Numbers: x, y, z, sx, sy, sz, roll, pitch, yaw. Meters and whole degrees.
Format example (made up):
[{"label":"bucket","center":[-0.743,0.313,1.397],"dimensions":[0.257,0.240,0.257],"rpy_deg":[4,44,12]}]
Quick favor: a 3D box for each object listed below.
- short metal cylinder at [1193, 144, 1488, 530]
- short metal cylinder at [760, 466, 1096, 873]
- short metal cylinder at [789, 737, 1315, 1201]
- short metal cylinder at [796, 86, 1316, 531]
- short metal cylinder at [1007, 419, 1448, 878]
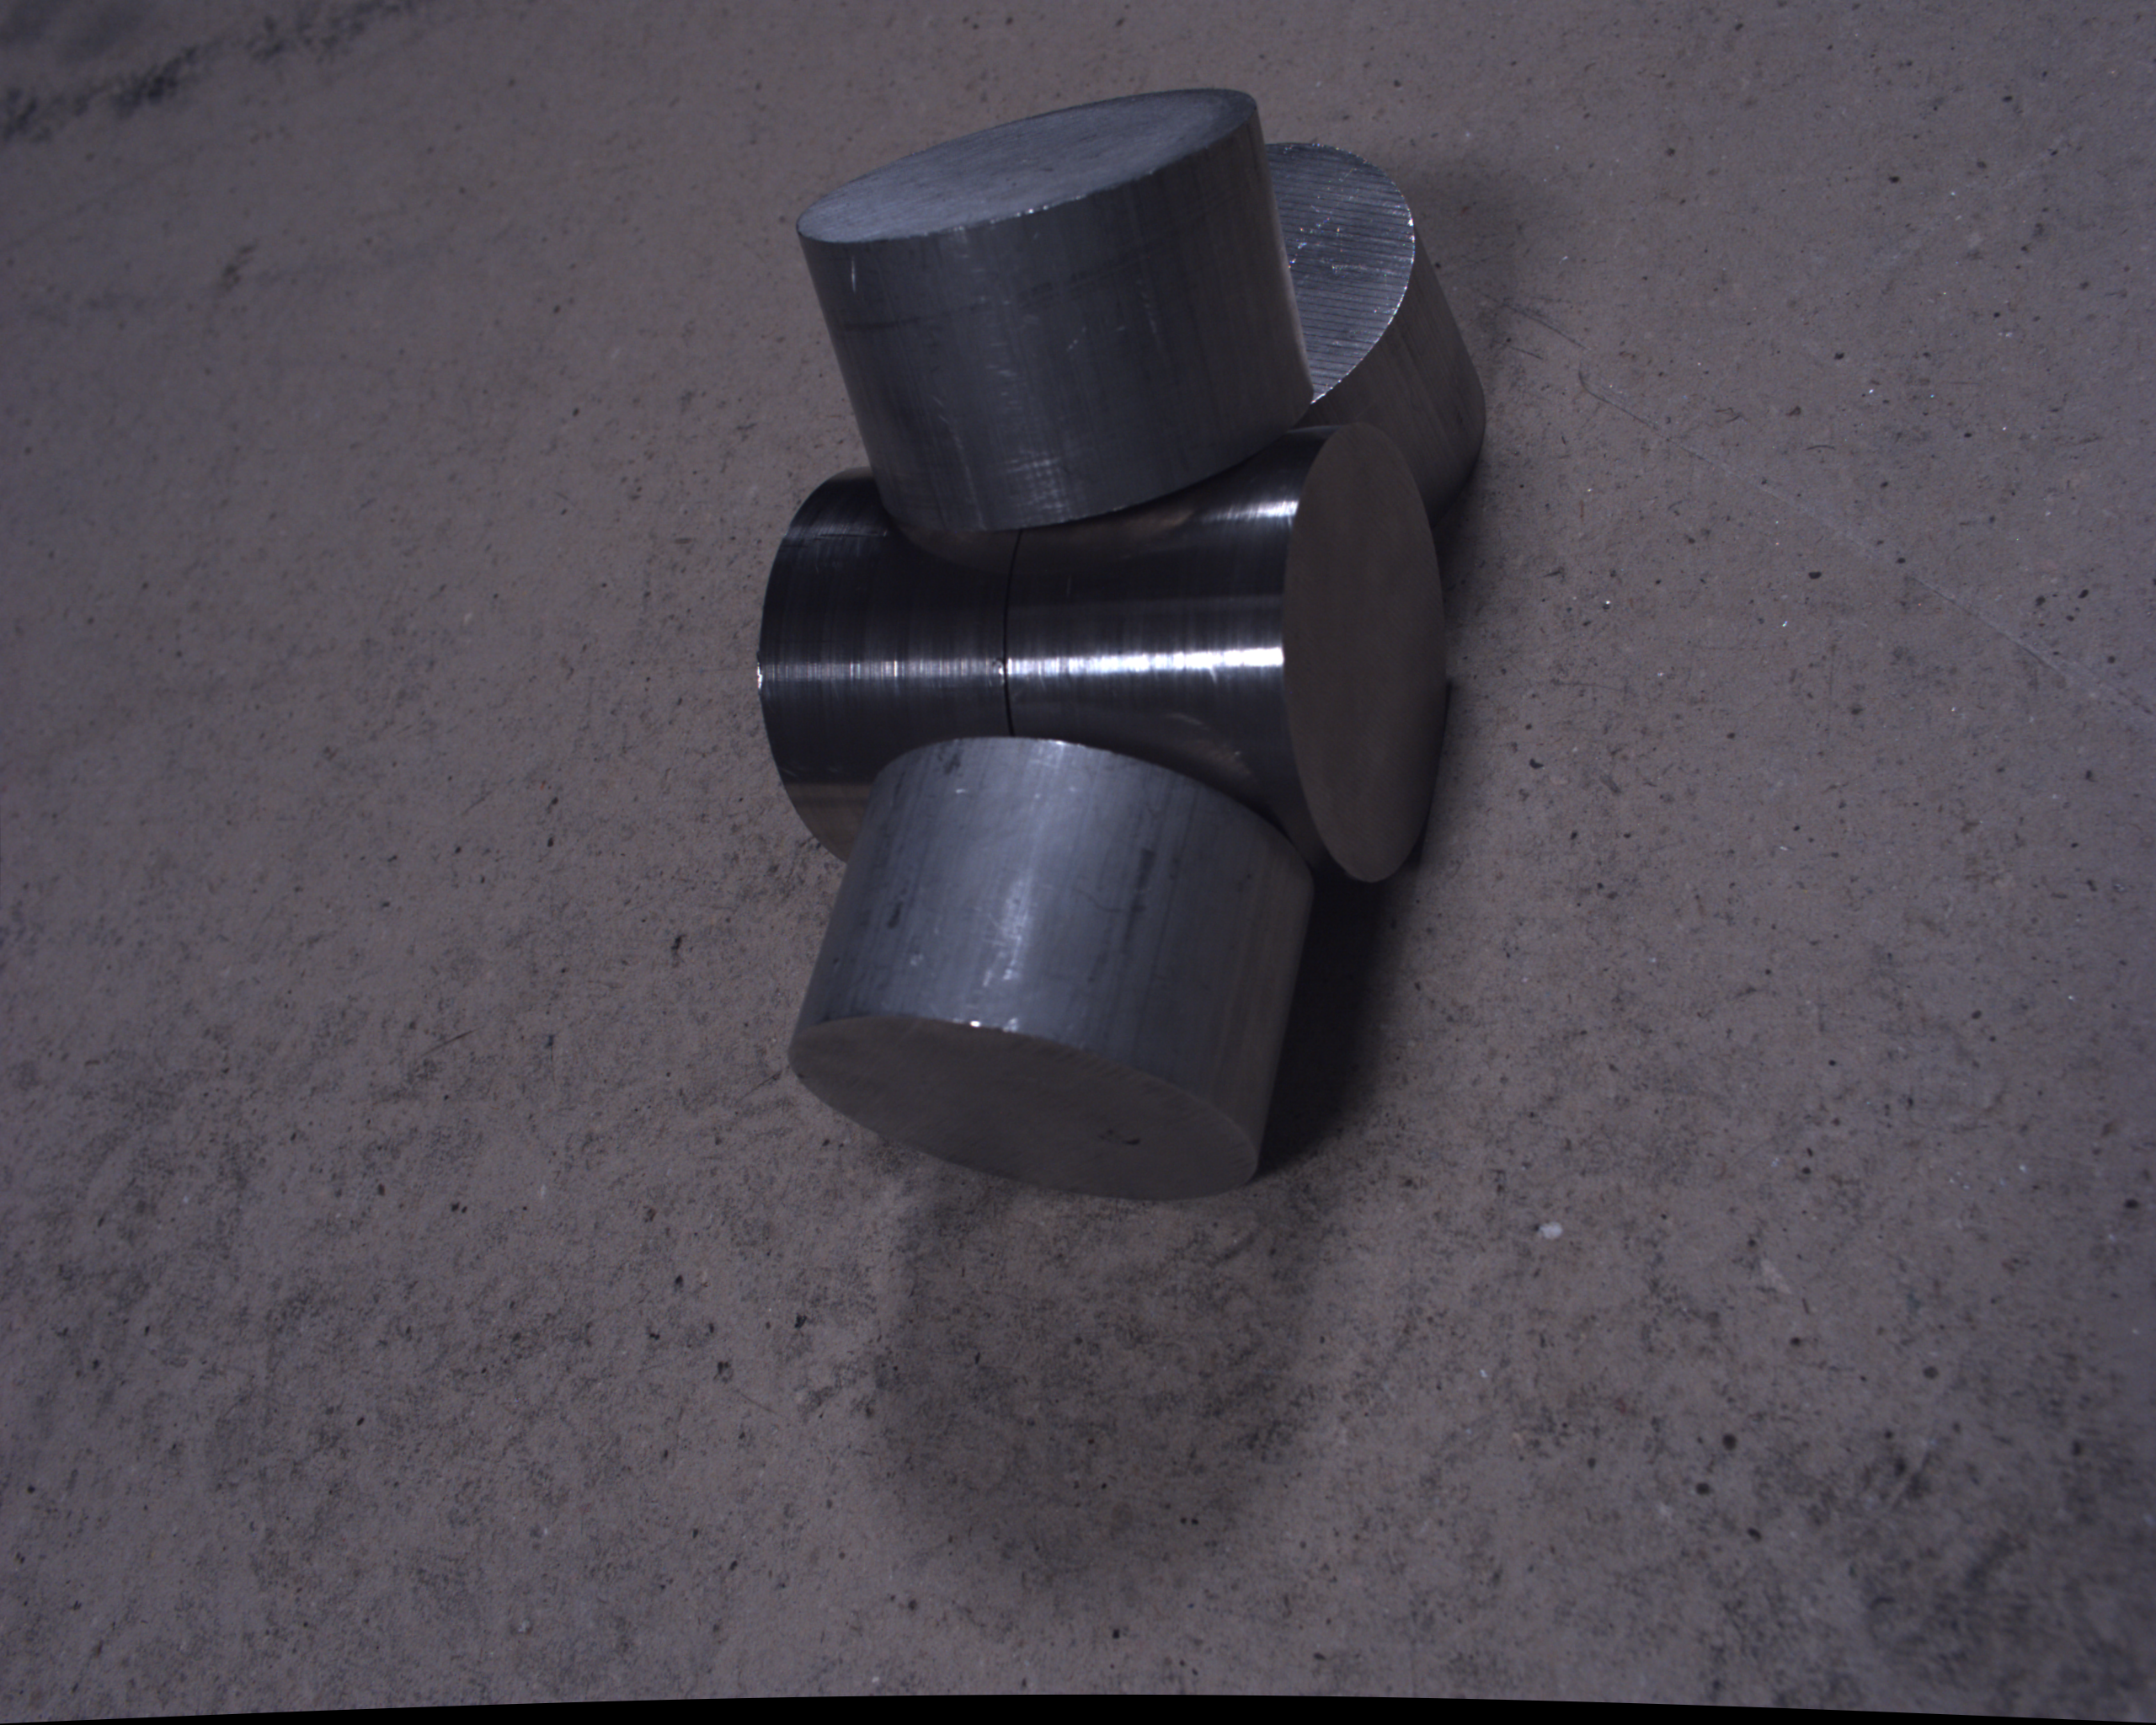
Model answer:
[{"label":"short metal cylinder","center":[0.039,-0.100,0.430],"dimensions":[0.080,0.050,0.080],"rpy_deg":[-13,56,20]},{"label":"short metal cylinder","center":[-0.016,-0.037,0.401],"dimensions":[0.050,0.080,0.080],"rpy_deg":[1,62,28]},{"label":"short metal cylinder","center":[-0.004,0.020,0.359],"dimensions":[0.080,0.080,0.050],"rpy_deg":[0,62,28]},{"label":"short metal cylinder","center":[-0.003,-0.098,0.365],"dimensions":[0.080,0.050,0.080],"rpy_deg":[-12,29,7]},{"label":"short metal cylinder","center":[0.029,-0.037,0.376],"dimensions":[0.050,0.080,0.080],"rpy_deg":[0,62,29]}]
